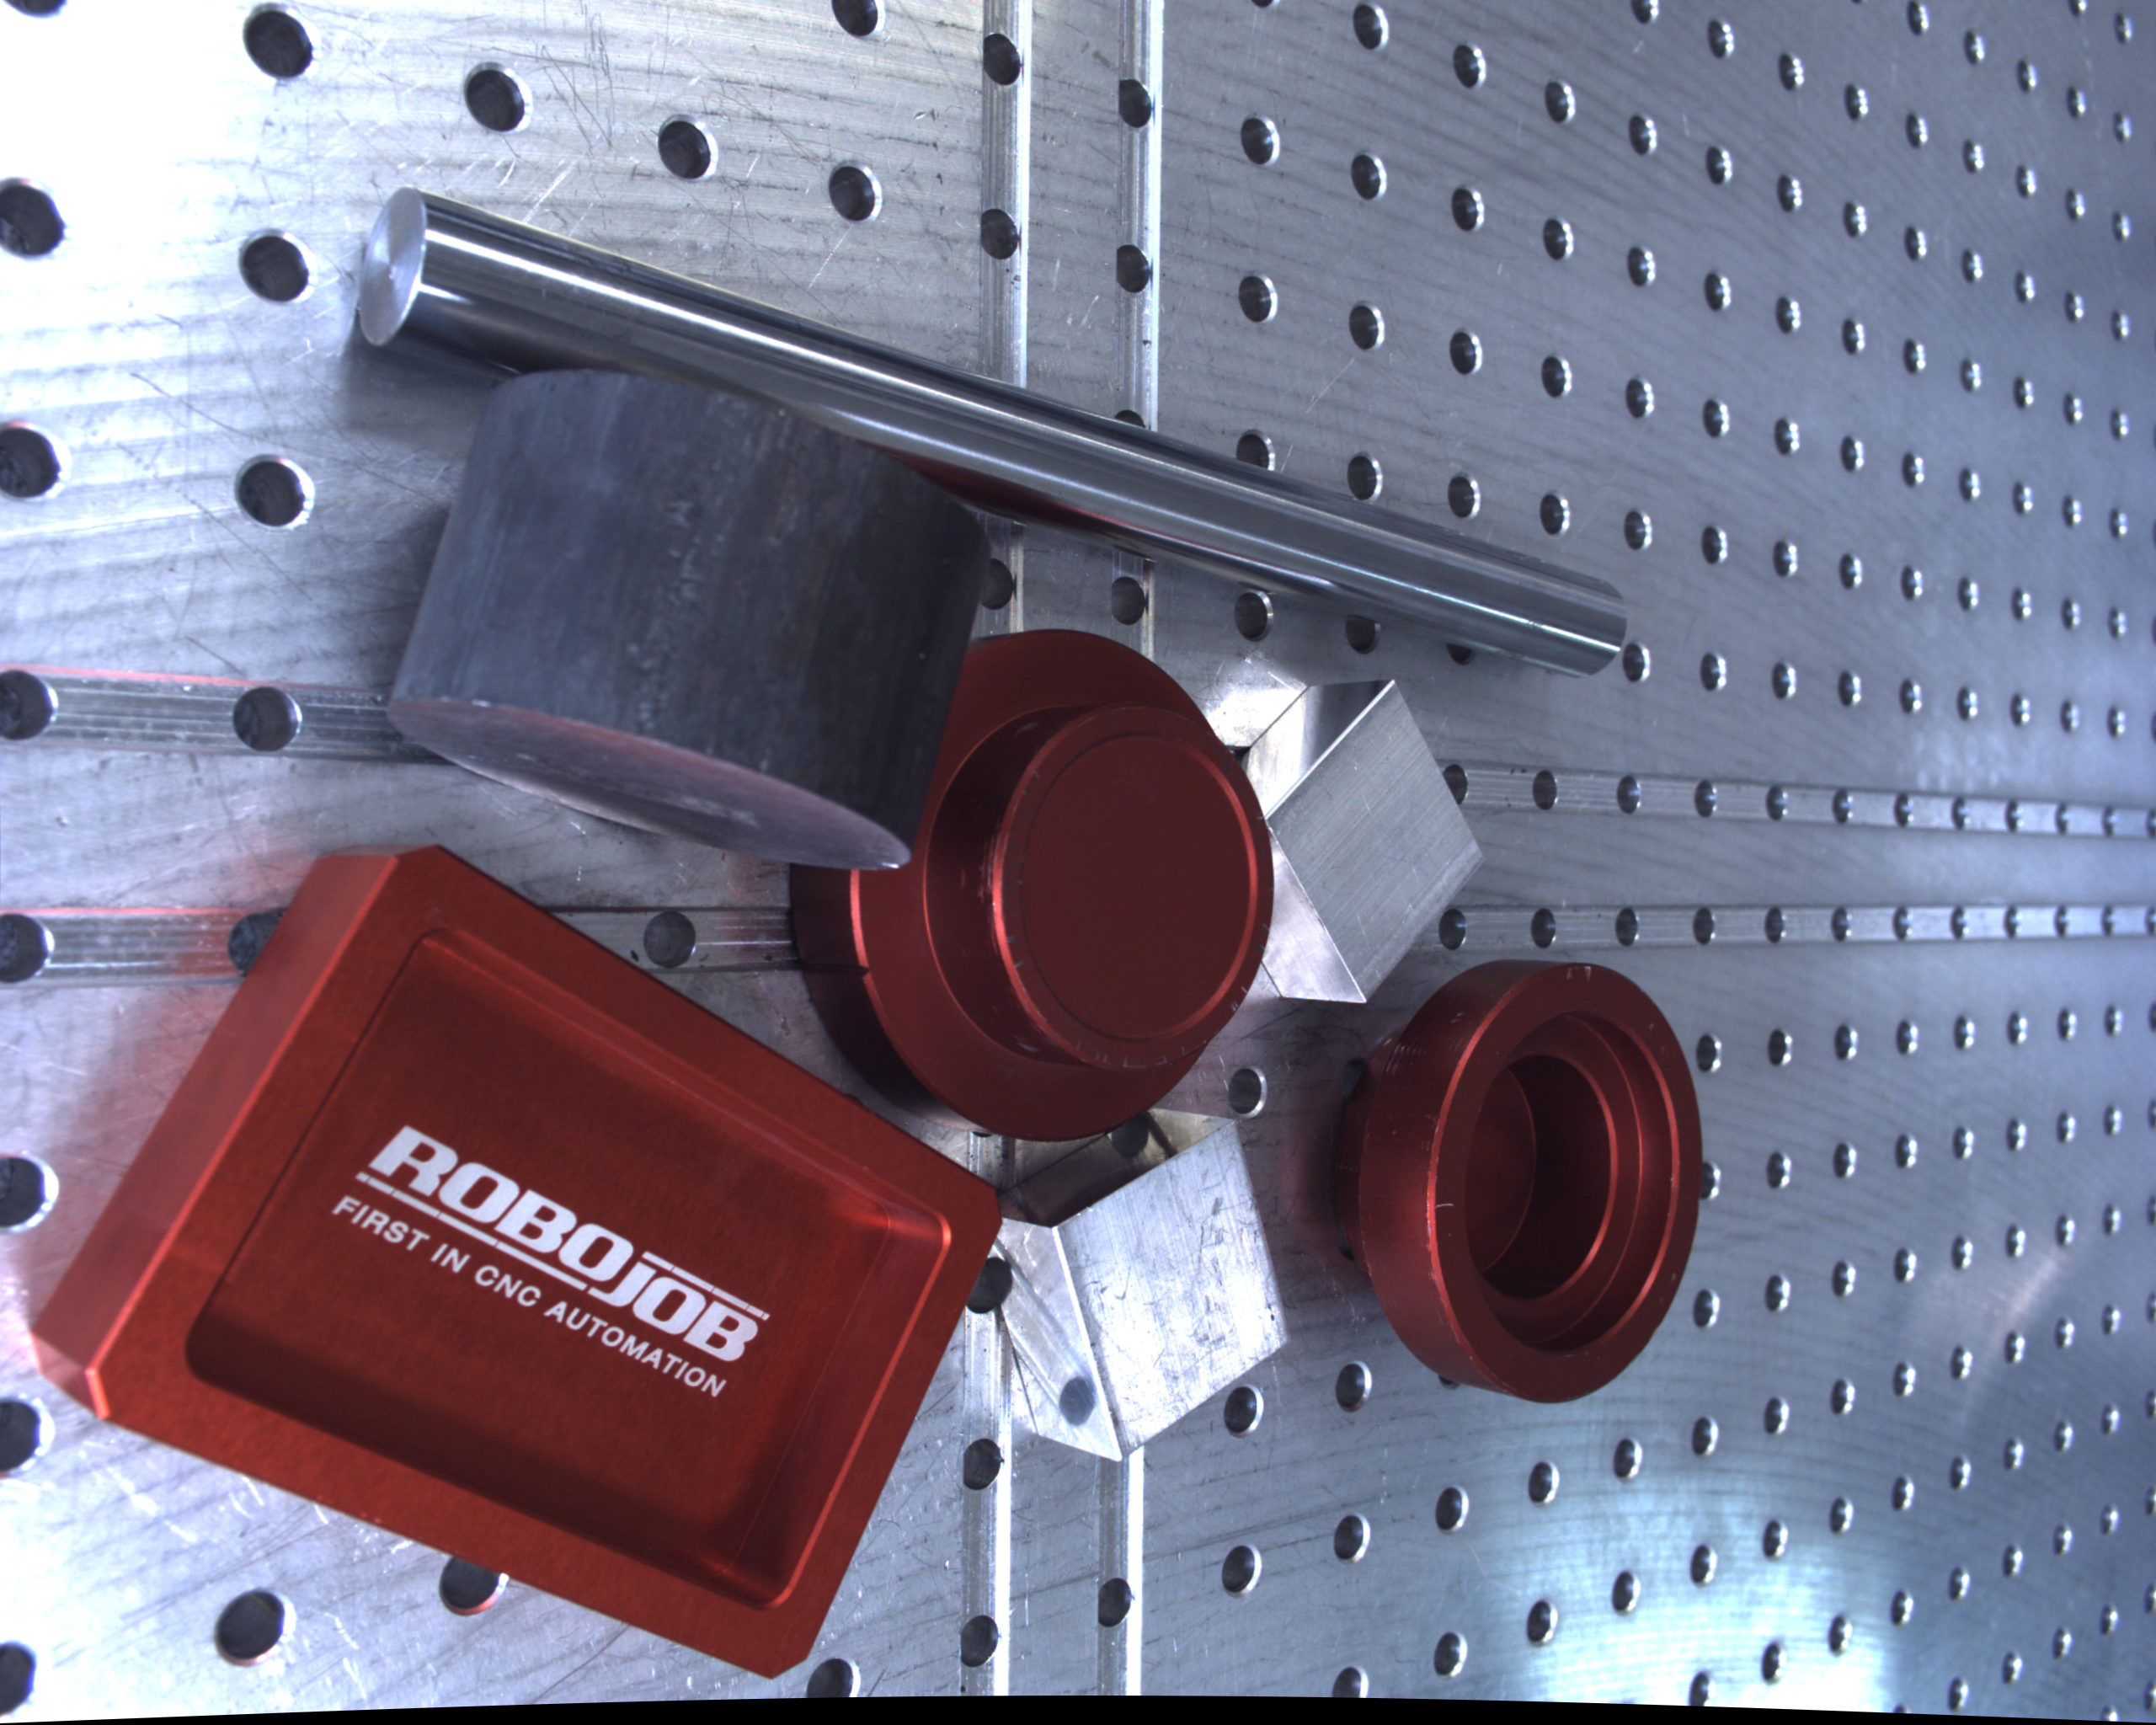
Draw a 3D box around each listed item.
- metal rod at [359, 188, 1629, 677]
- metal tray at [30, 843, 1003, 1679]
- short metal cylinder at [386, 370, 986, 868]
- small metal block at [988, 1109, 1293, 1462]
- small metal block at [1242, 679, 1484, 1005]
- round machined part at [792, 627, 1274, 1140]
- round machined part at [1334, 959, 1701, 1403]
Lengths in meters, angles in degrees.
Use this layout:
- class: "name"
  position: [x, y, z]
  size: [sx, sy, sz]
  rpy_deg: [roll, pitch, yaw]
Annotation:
- class: "metal rod"
  position: [0.010, -0.074, 0.416]
  size: [0.302, 0.025, 0.025]
  rpy_deg: [8, 85, -40]
- class: "metal tray"
  position: [-0.082, 0.066, 0.337]
  size: [0.130, 0.030, 0.090]
  rpy_deg: [38, 67, -33]
- class: "short metal cylinder"
  position: [-0.059, -0.035, 0.323]
  size: [0.080, 0.080, 0.050]
  rpy_deg: [22, 76, -38]
- class: "small metal block"
  position: [0.012, 0.083, 0.419]
  size: [0.050, 0.025, 0.050]
  rpy_deg: [-25, 106, -37]
- class: "small metal block"
  position: [0.056, -0.005, 0.456]
  size: [0.050, 0.025, 0.050]
  rpy_deg: [-46, 118, -30]
- class: "round machined part"
  position: [-0.001, 0.004, 0.396]
  size: [0.099, 0.042, 0.097]
  rpy_deg: [3, 85, -40]
- class: "round machined part"
  position: [0.097, 0.071, 0.480]
  size: [0.099, 0.042, 0.097]
  rpy_deg: [0, 90, -40]
